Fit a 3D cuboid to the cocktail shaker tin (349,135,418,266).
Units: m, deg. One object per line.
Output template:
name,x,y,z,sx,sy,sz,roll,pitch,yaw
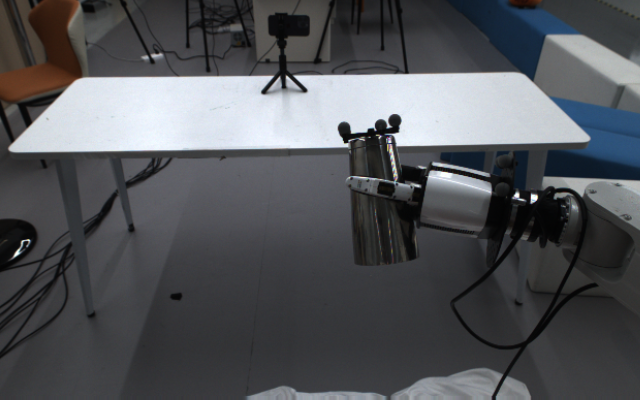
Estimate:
cocktail shaker tin,0.083,-0.002,0.678,0.093,0.170,0.093,-8,1,0
